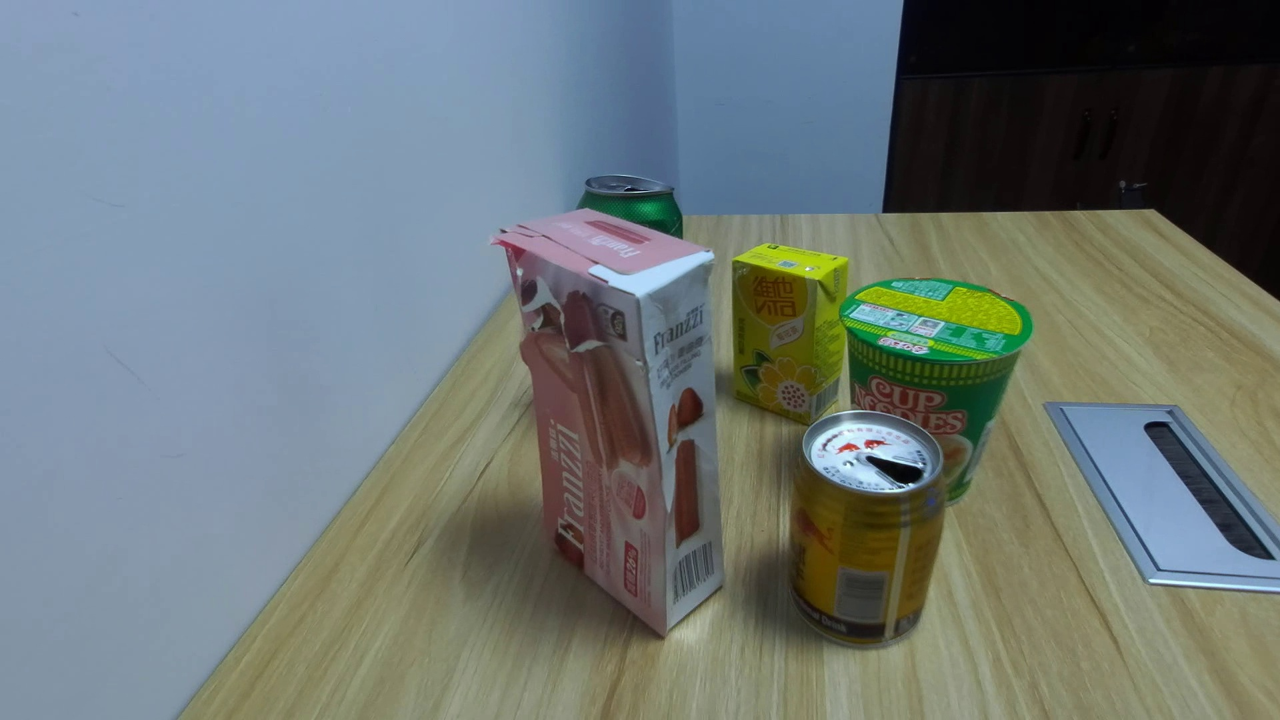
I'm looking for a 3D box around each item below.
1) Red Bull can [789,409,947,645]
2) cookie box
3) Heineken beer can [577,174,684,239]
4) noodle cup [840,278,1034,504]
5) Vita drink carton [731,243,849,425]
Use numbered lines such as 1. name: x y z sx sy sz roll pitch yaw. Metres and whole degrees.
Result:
1. Red Bull can: 0.106 0.081 0.338 0.068 0.093 0.068 -2 26 1
2. cookie box: -0.011 0.034 0.335 0.059 0.186 0.104 -23 33 -34
3. Heineken beer can: -0.008 -0.045 0.484 0.069 0.168 0.068 5 37 2
4. noodle cup: 0.160 0.023 0.399 0.097 0.110 0.097 -5 30 3
5. Vita drink carton: 0.098 -0.020 0.481 0.076 0.109 0.043 22 39 38
